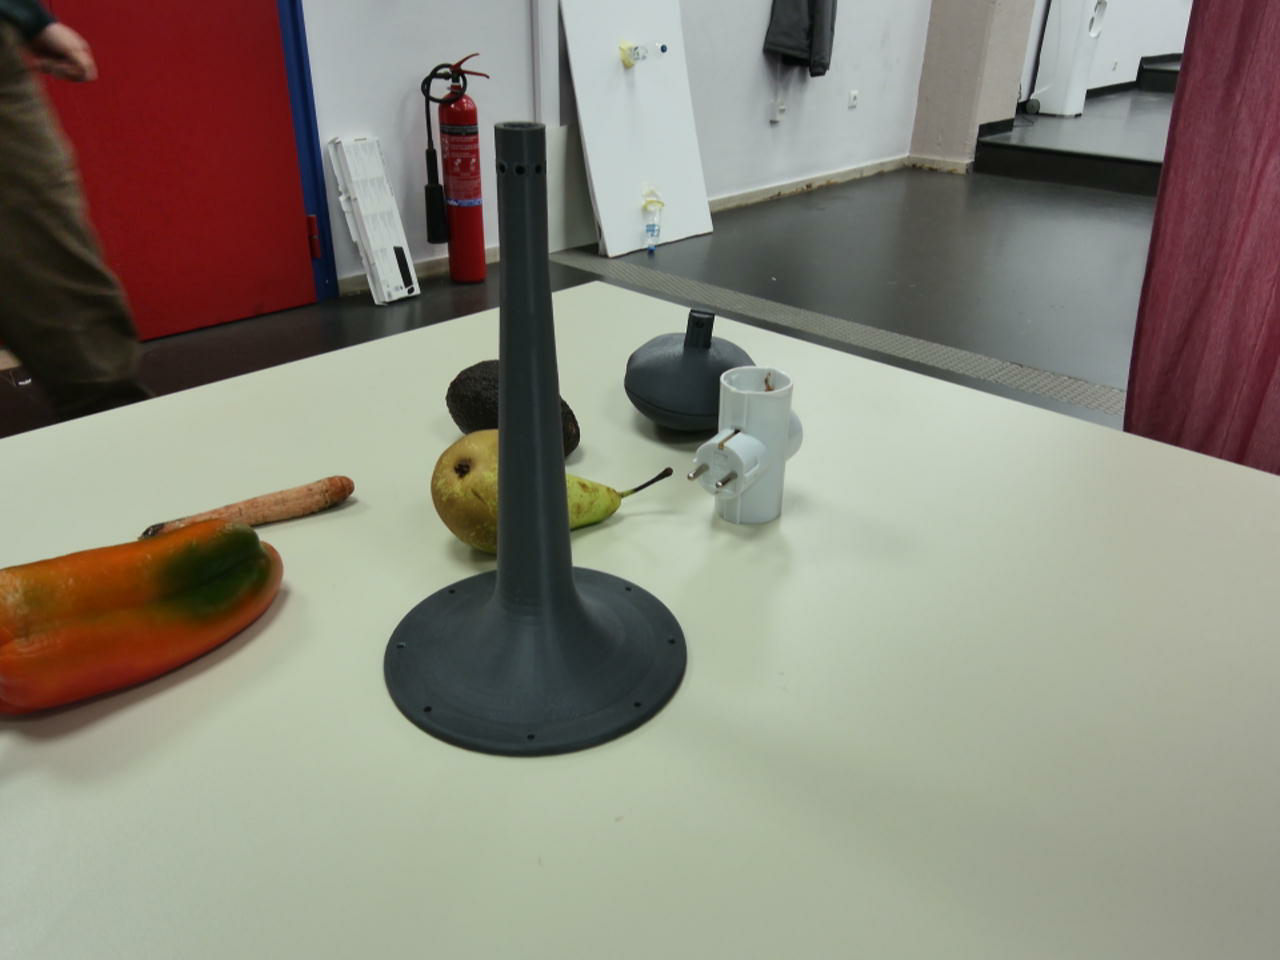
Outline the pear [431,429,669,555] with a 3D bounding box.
[{"bbox_3d":[-0.057,-0.002,0.606,0.144,0.075,0.072,-21,32,-36],"label":"pear"}]
